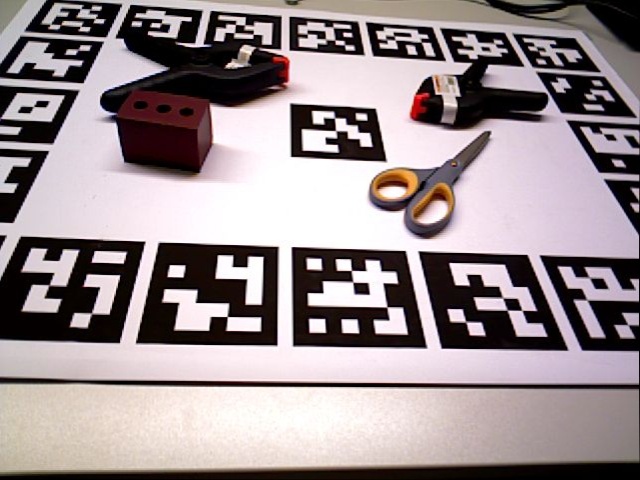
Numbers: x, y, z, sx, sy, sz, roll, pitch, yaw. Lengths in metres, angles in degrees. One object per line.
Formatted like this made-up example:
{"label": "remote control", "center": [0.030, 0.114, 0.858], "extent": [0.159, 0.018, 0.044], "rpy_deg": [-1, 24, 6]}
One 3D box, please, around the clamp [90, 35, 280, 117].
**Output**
{"label": "clamp", "center": [-0.147, -0.190, 0.620], "extent": [0.201, 0.037, 0.163], "rpy_deg": [-1, 45, -9]}

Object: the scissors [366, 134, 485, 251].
{"label": "scissors", "center": [0.123, -0.065, 0.551], "extent": [0.087, 0.016, 0.198], "rpy_deg": [36, 52, 14]}

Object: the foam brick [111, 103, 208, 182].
{"label": "foam brick", "center": [-0.154, -0.094, 0.526], "extent": [0.078, 0.052, 0.052], "rpy_deg": [4, 49, 3]}

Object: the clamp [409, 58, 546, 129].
{"label": "clamp", "center": [0.175, -0.172, 0.650], "extent": [0.162, 0.037, 0.121], "rpy_deg": [-22, 61, -23]}
